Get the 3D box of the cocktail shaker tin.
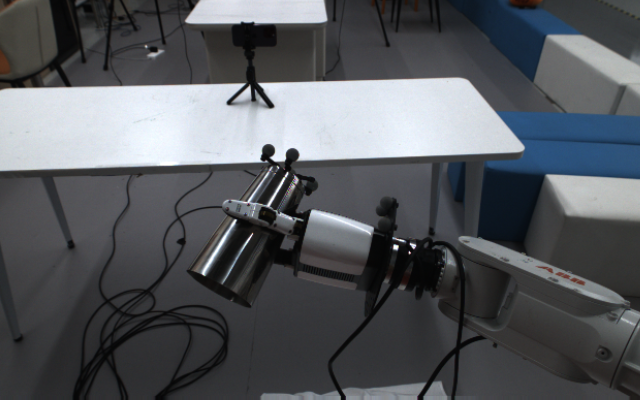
[{"bbox_3d":[-0.084,0.038,0.623,0.093,0.093,0.170,18,66,22],"label":"cocktail shaker tin"}]
